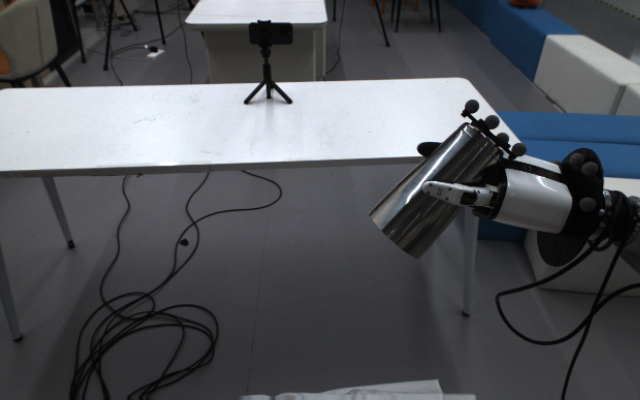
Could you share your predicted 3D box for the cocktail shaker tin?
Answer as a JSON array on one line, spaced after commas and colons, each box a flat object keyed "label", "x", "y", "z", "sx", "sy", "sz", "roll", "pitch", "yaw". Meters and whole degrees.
[{"label": "cocktail shaker tin", "x": 0.155, "y": -0.020, "z": 0.635, "sx": 0.093, "sy": 0.170, "sz": 0.093, "roll": 41, "pitch": 12, "yaw": -11}]
